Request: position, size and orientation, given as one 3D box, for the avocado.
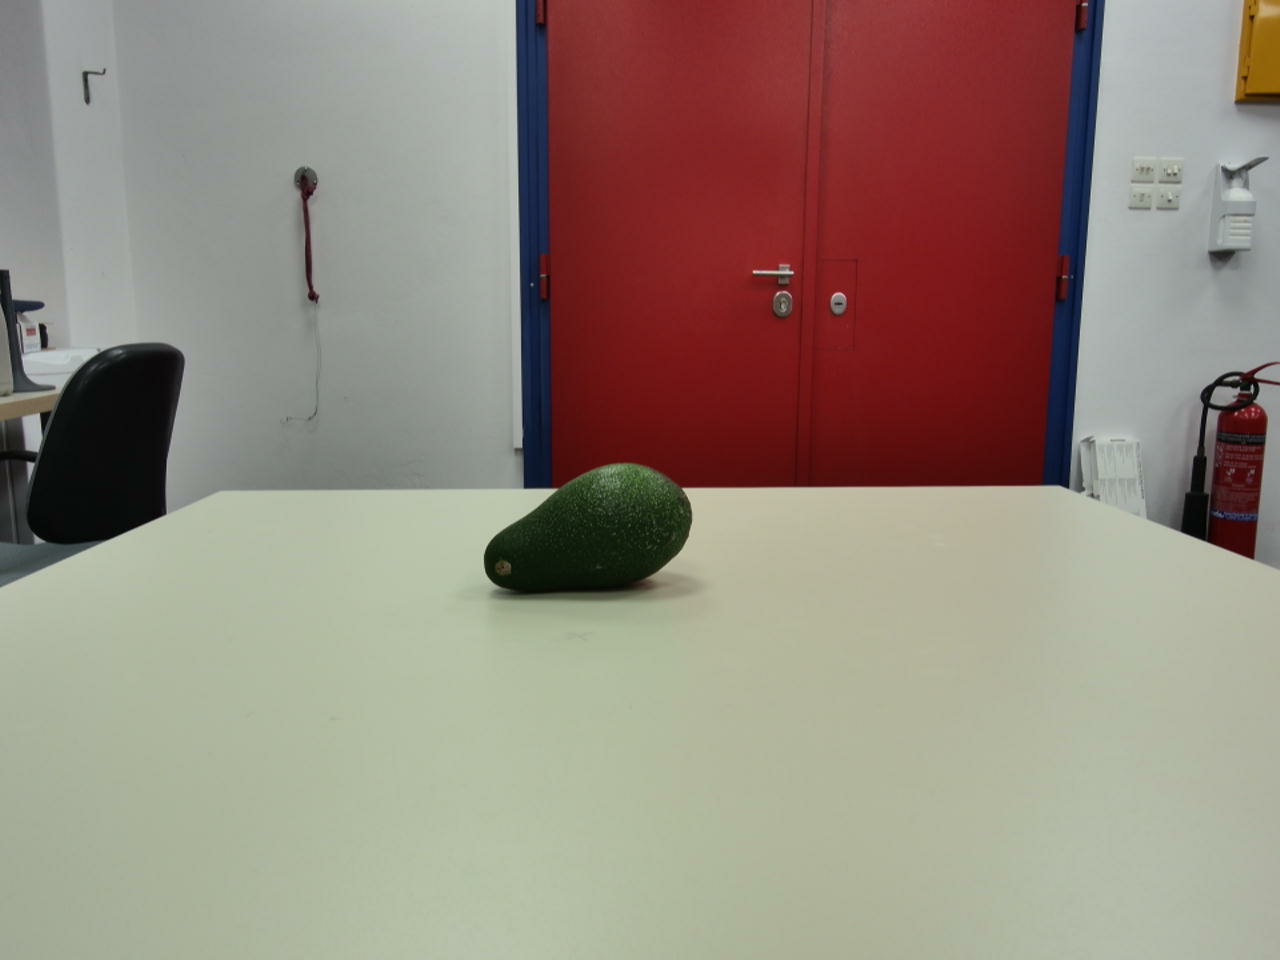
[{"bbox_3d":[-0.030,0.027,0.610,0.123,0.076,0.074,0,8,5],"label":"avocado"}]
